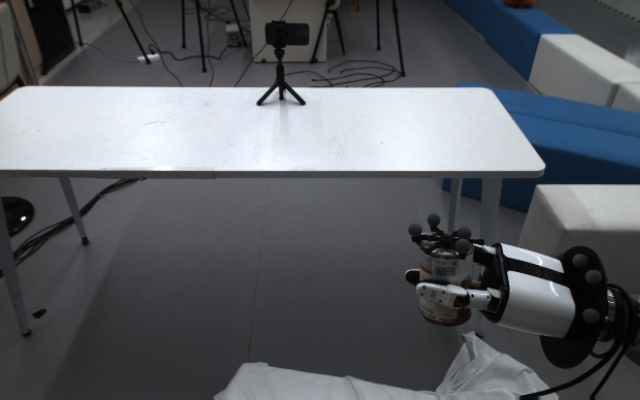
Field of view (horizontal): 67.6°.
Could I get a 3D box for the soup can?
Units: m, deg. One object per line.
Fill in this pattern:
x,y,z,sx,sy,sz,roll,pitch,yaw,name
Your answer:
0.165,0.101,0.627,0.067,0.101,0.067,-4,21,2,soup can
